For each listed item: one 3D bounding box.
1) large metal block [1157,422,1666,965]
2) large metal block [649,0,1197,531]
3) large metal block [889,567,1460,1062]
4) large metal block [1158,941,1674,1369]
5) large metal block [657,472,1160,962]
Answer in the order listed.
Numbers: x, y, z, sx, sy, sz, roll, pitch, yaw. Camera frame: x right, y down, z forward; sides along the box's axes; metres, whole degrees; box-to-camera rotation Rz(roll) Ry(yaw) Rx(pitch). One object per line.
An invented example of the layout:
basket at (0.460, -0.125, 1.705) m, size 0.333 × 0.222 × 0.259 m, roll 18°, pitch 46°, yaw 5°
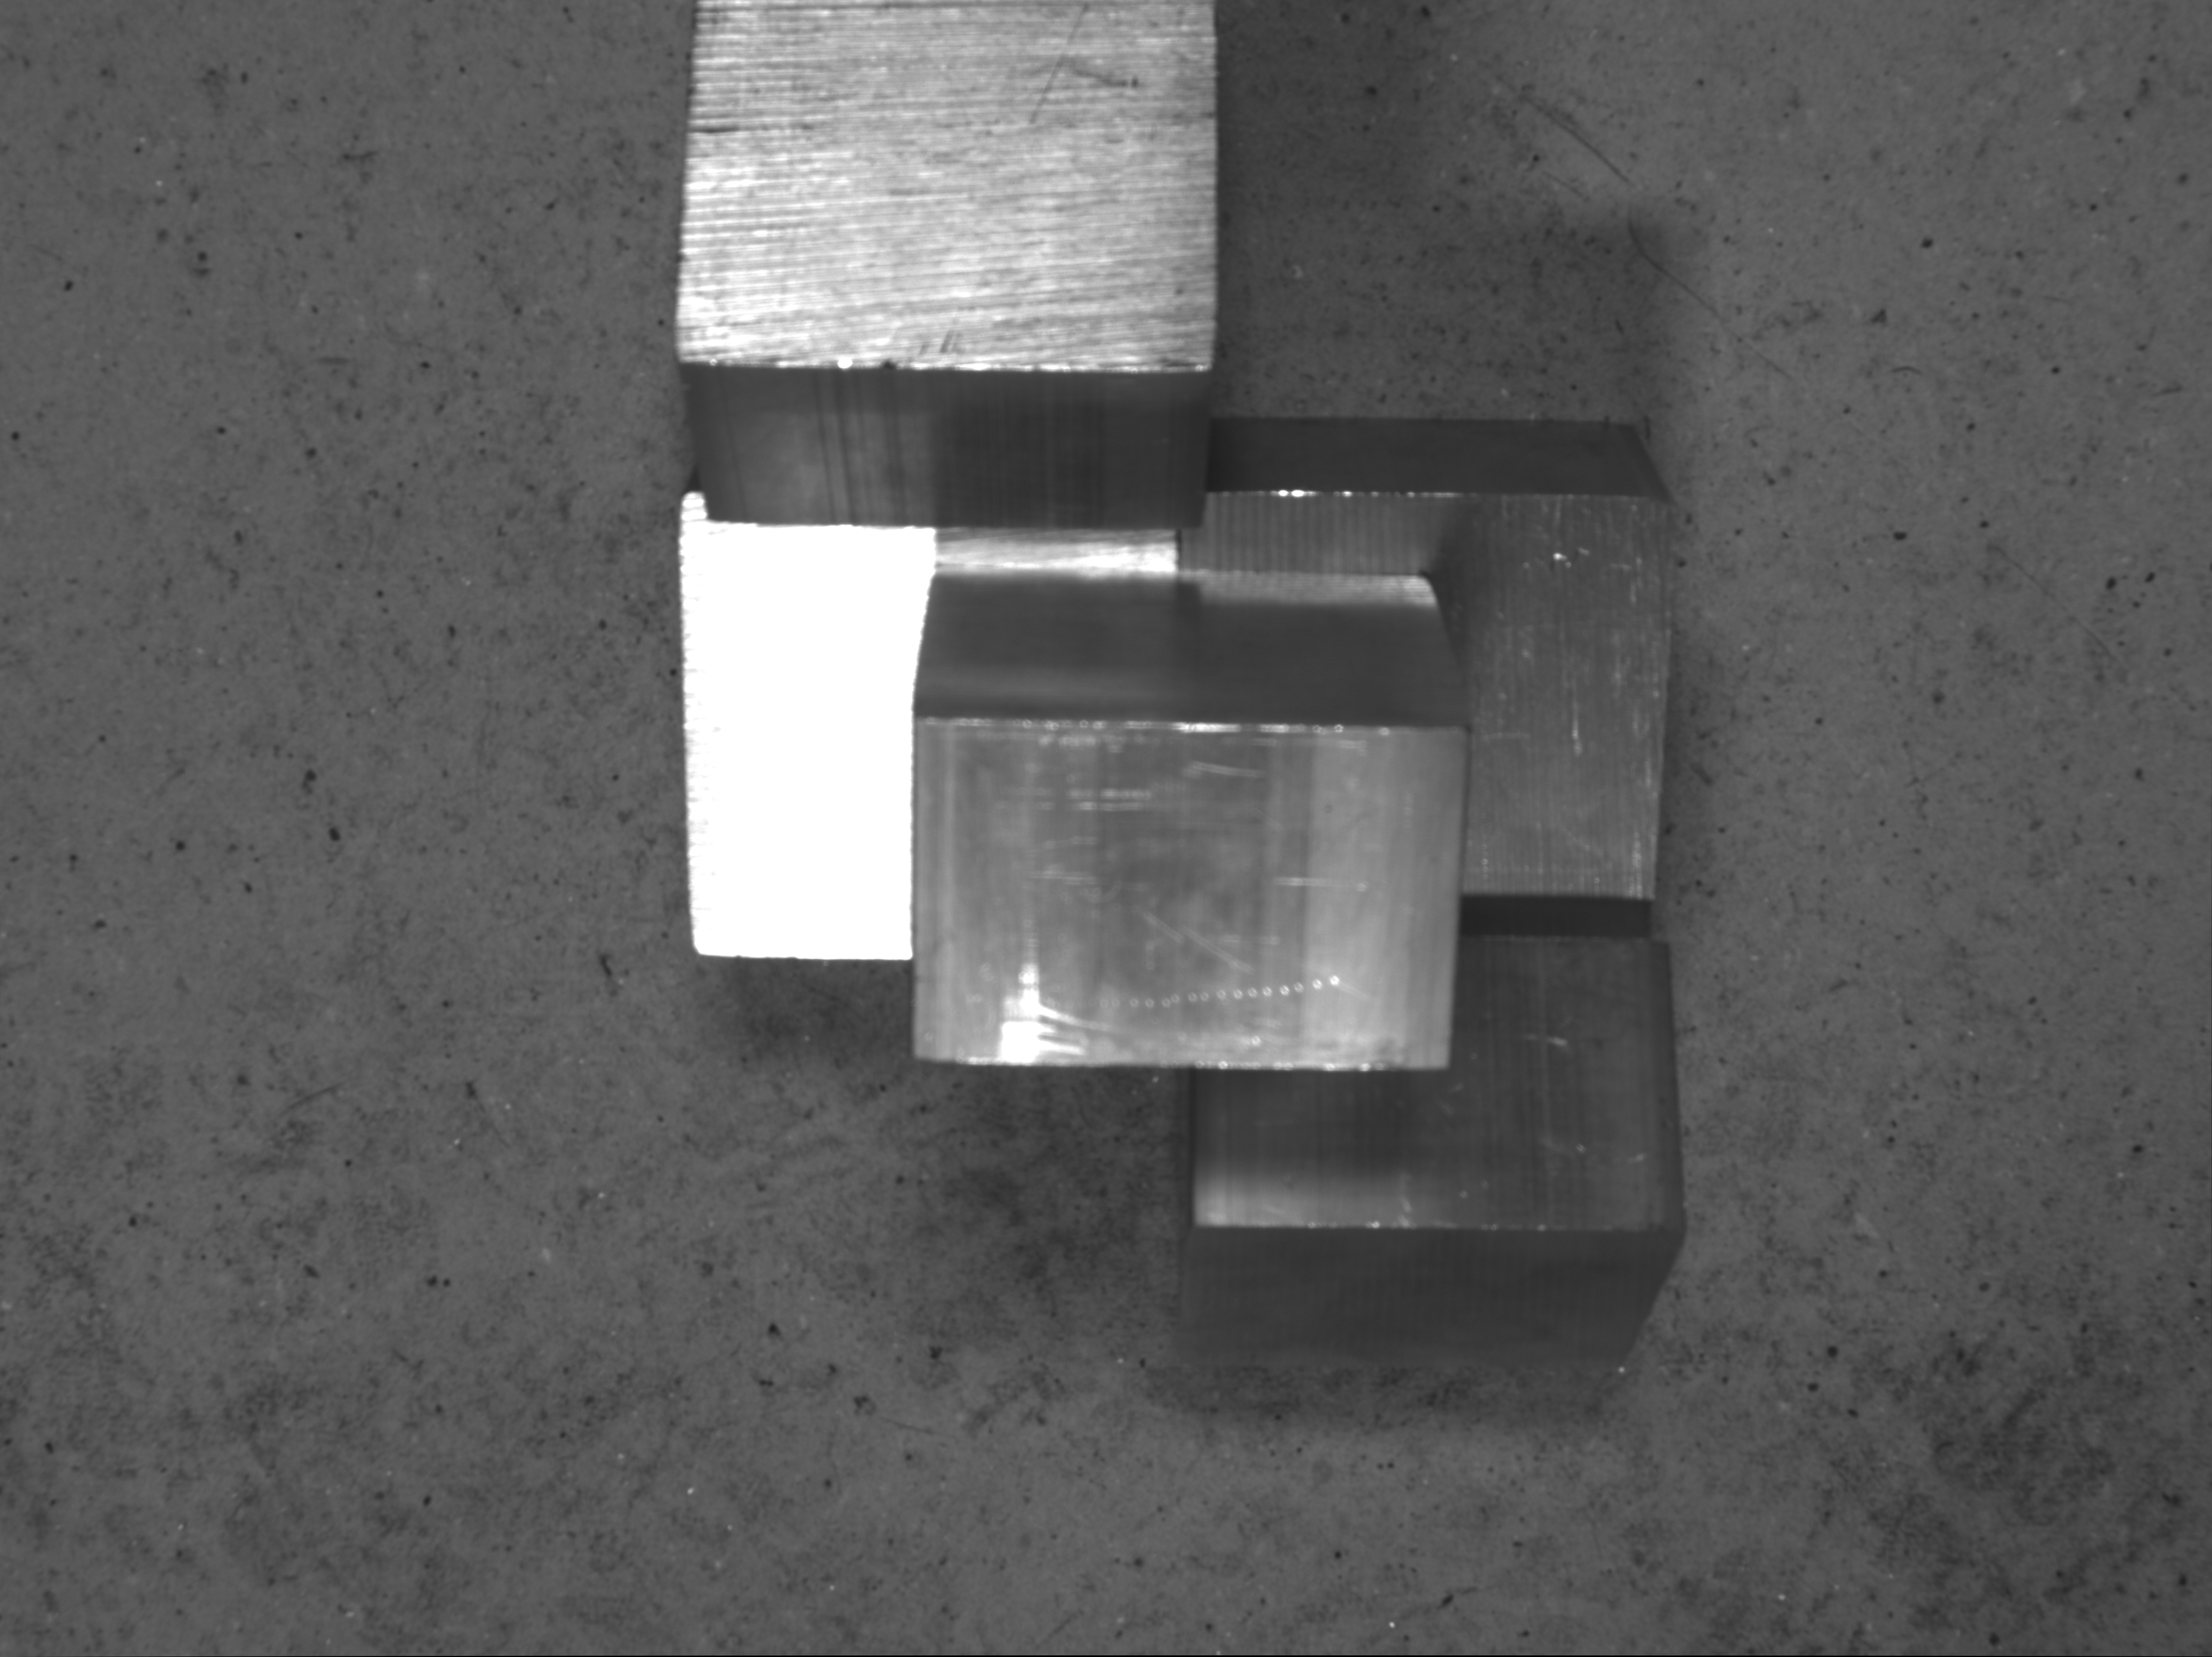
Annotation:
large metal block at (0.049, -0.023, 0.620) m, size 0.080 × 0.050 × 0.080 m, roll 1°, pitch 110°, yaw -1°
large metal block at (-0.026, -0.094, 0.573) m, size 0.080 × 0.050 × 0.080 m, roll 1°, pitch 66°, yaw 0°
large metal block at (0.009, -0.004, 0.560) m, size 0.080 × 0.080 × 0.050 m, roll 1°, pitch 110°, yaw -1°
large metal block at (0.050, 0.058, 0.629) m, size 0.080 × 0.080 × 0.050 m, roll 0°, pitch 66°, yaw -1°
large metal block at (-0.032, -0.024, 0.619) m, size 0.080 × 0.050 × 0.080 m, roll 1°, pitch 110°, yaw -1°
